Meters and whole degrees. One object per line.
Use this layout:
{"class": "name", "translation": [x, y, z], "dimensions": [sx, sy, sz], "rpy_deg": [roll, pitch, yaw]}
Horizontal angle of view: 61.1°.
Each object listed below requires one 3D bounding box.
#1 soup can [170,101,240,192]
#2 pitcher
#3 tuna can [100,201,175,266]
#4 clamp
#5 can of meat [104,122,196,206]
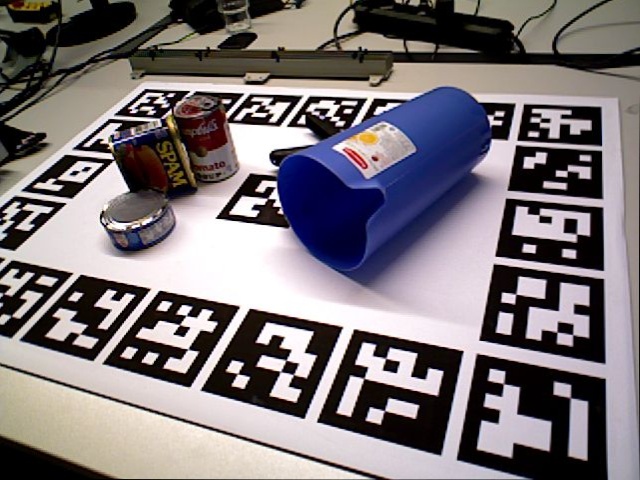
{"class": "soup can", "translation": [-0.155, -0.127, 0.742], "dimensions": [0.068, 0.104, 0.067], "rpy_deg": [-9, 42, 7]}
{"class": "pitcher", "translation": [0.076, -0.076, 0.598], "dimensions": [0.237, 0.135, 0.191], "rpy_deg": [-34, 23, -33]}
{"class": "tuna can", "translation": [-0.226, -0.008, 0.677], "dimensions": [0.086, 0.034, 0.084], "rpy_deg": [-8, 43, 6]}
{"class": "clamp", "translation": [0.016, -0.115, 0.752], "dimensions": [0.166, 0.037, 0.119], "rpy_deg": [11, 42, 20]}
{"class": "can of meat", "translation": [-0.221, -0.091, 0.712], "dimensions": [0.083, 0.103, 0.057], "rpy_deg": [-19, 43, -4]}
